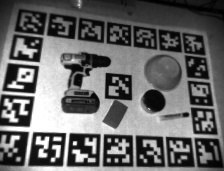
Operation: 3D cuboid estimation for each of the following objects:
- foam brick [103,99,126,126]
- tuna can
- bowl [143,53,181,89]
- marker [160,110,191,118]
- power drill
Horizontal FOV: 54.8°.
[{"bbox_3d":[0.011,0.094,0.742,0.051,0.052,0.078,28,69,-3],"label":"foam brick"},{"bbox_3d":[0.154,0.048,0.792,0.086,0.033,0.085,5,70,-13],"label":"tuna can"},{"bbox_3d":[0.205,-0.070,0.845,0.162,0.055,0.161,4,64,-8],"label":"bowl"},{"bbox_3d":[0.236,0.106,0.798,0.122,0.019,0.019,-5,74,-15],"label":"marker"},{"bbox_3d":[-0.099,-0.022,0.751,0.186,0.057,0.186,5,68,-15],"label":"power drill"}]
